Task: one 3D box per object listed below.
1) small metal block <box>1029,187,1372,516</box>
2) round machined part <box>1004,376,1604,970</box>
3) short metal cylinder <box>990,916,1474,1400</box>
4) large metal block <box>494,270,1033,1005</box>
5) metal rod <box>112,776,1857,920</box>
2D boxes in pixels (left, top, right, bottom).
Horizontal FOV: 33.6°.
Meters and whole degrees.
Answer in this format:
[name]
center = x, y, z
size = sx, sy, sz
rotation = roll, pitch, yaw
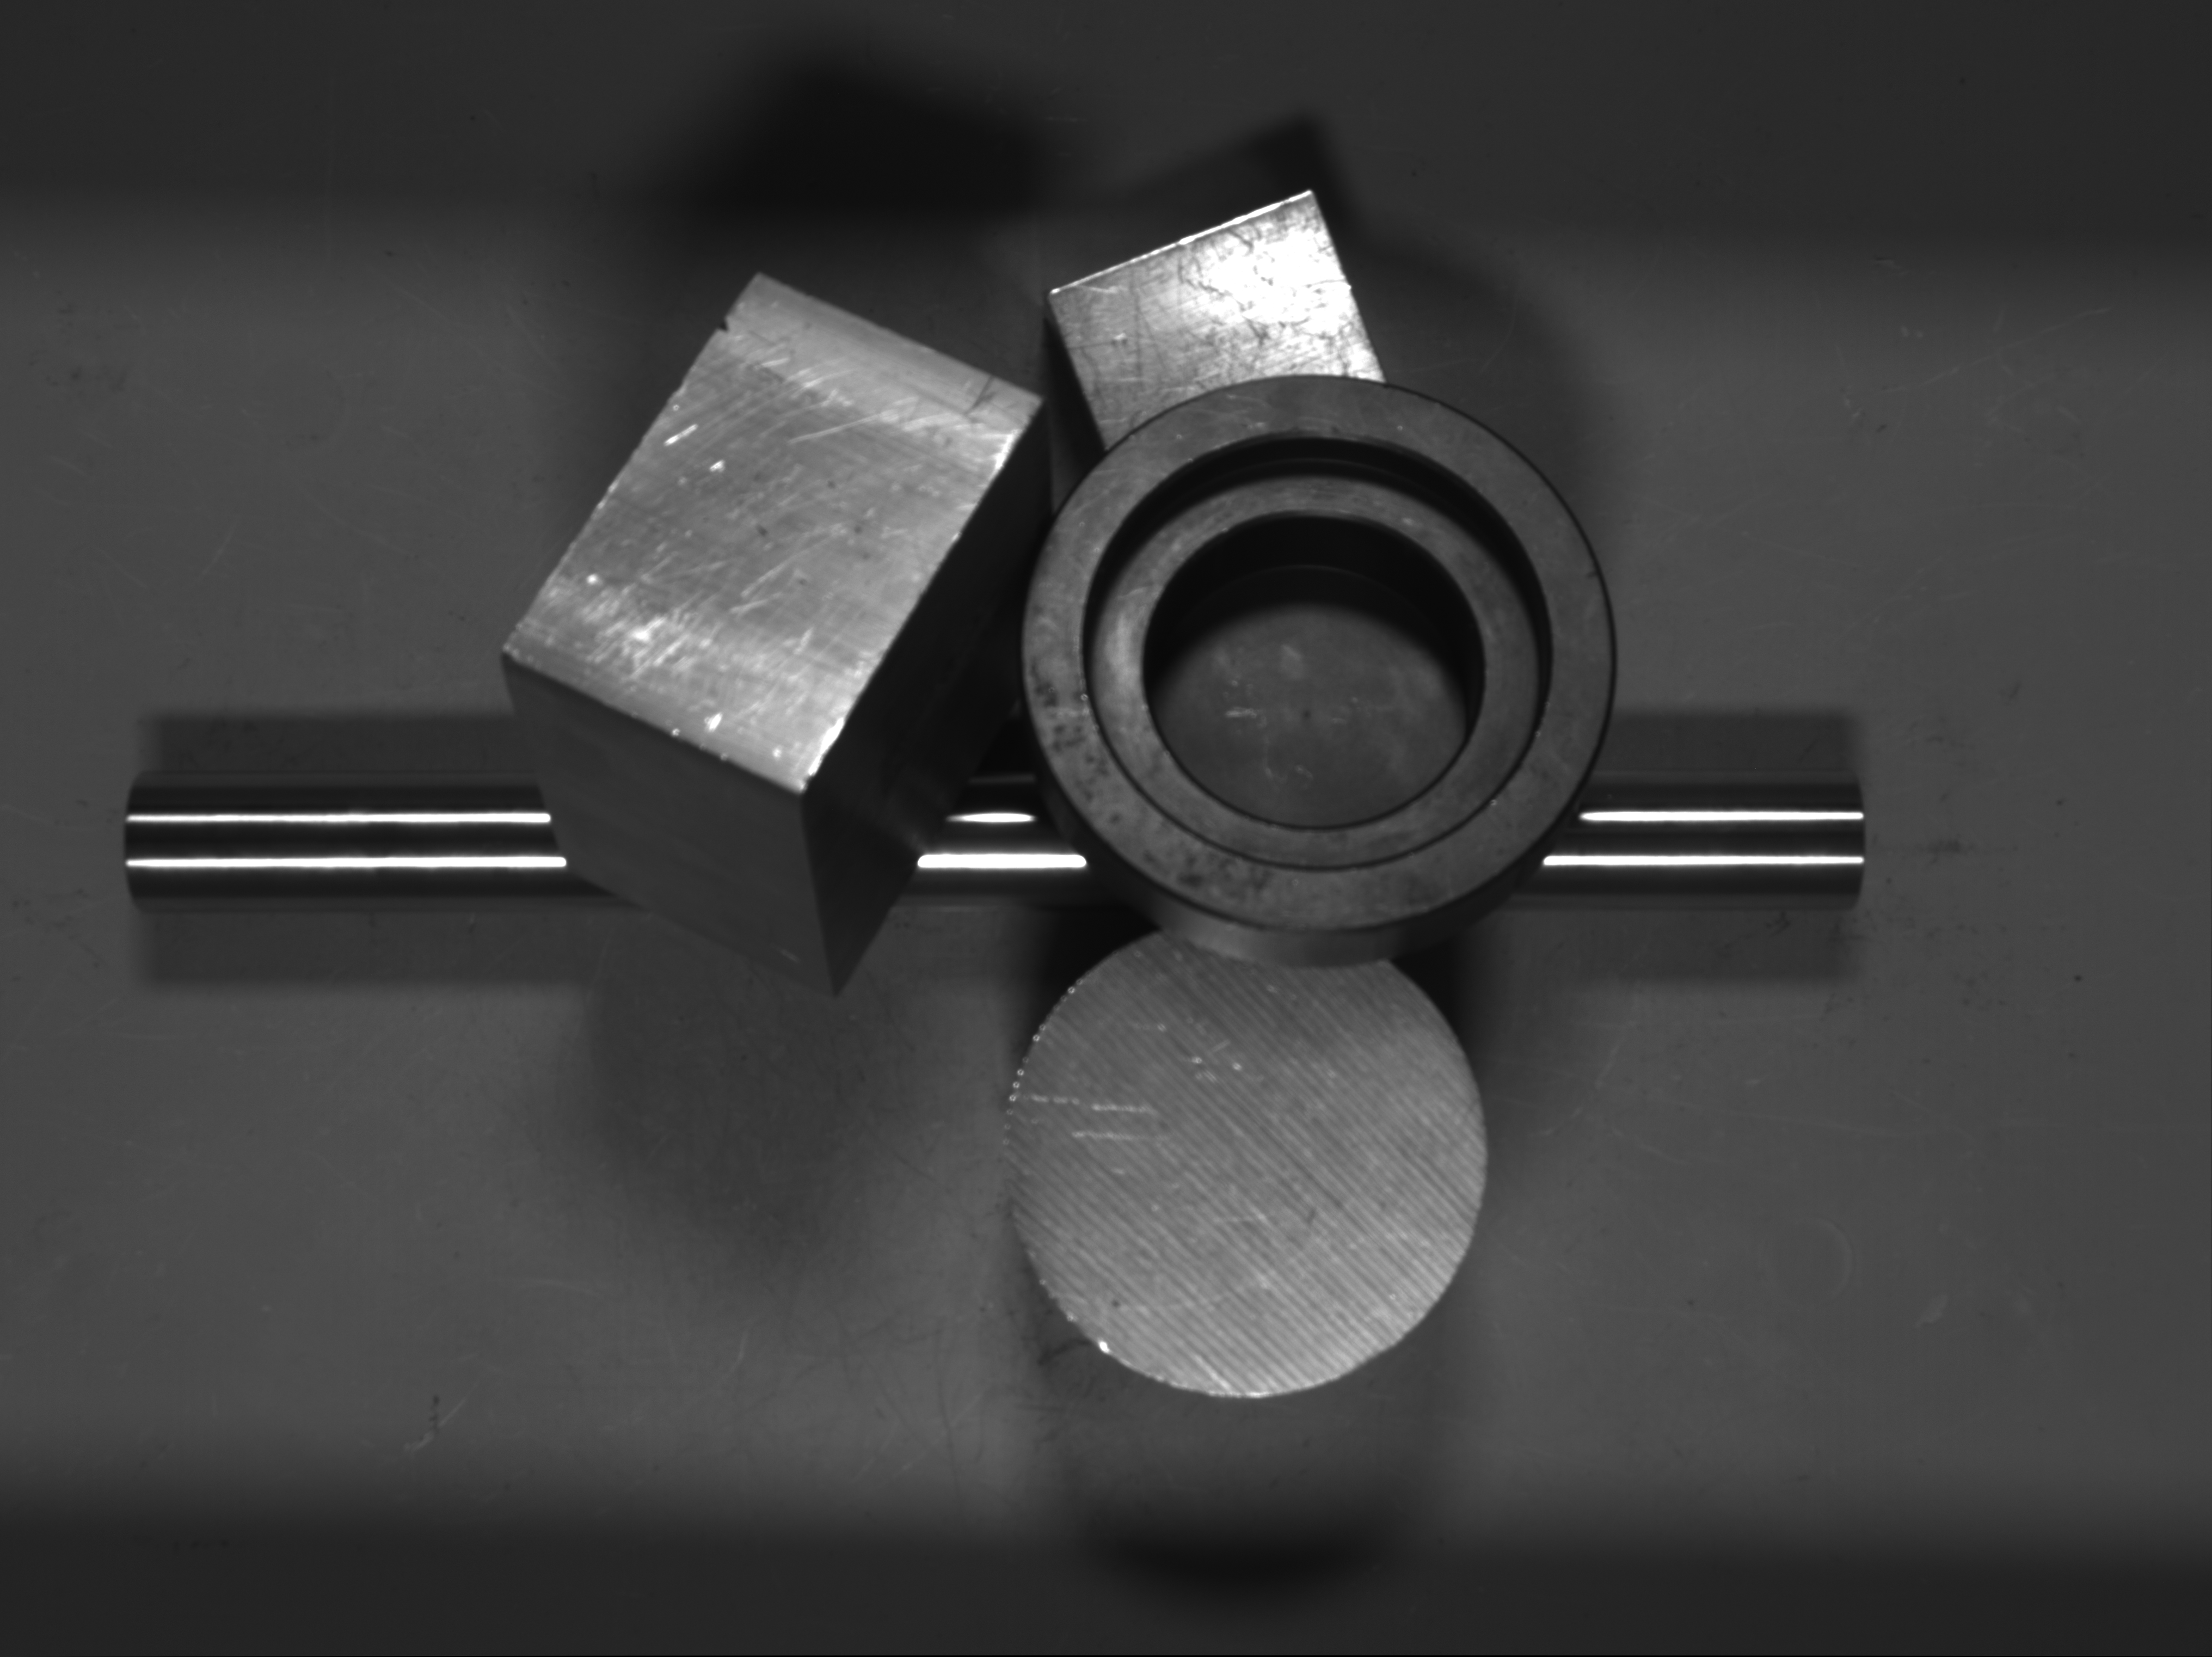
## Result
[small metal block]
center = 0.019, -0.078, 0.645
size = 0.050, 0.025, 0.050
rotation = -21, 90, 0
[round machined part]
center = 0.032, -0.023, 0.617
size = 0.098, 0.042, 0.098
rotation = 0, 72, 0
[short metal cylinder]
center = 0.021, 0.055, 0.631
size = 0.080, 0.050, 0.080
rotation = 0, 90, 0
[large metal block]
center = -0.053, -0.030, 0.602
size = 0.050, 0.080, 0.080
rotation = 25, 67, 11
[metal rod]
center = -0.021, 0.003, 0.642
size = 0.300, 0.025, 0.025
rotation = 0, 90, -1
